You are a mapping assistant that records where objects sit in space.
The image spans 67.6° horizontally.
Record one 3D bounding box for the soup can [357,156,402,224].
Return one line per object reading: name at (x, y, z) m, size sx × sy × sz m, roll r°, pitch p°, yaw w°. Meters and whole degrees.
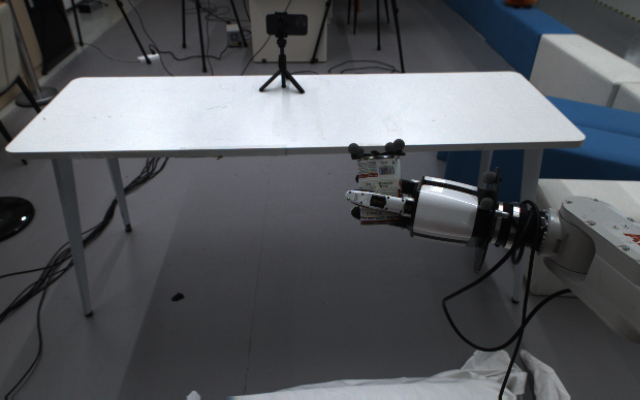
soup can at (0.093, -0.014, 0.741) m, size 0.067 × 0.101 × 0.067 m, roll -3°, pitch -1°, yaw 0°
